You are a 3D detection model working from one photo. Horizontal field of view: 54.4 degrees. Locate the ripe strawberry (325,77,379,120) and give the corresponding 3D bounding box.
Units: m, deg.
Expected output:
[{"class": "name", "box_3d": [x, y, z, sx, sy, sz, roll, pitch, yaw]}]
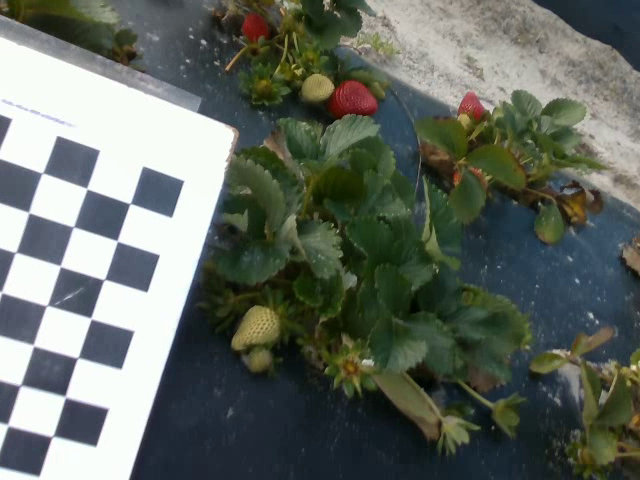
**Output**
[{"class": "ripe strawberry", "box_3d": [0.039, -0.148, 0.665, 0.051, 0.048, 0.055, -39, 39, -14]}]
